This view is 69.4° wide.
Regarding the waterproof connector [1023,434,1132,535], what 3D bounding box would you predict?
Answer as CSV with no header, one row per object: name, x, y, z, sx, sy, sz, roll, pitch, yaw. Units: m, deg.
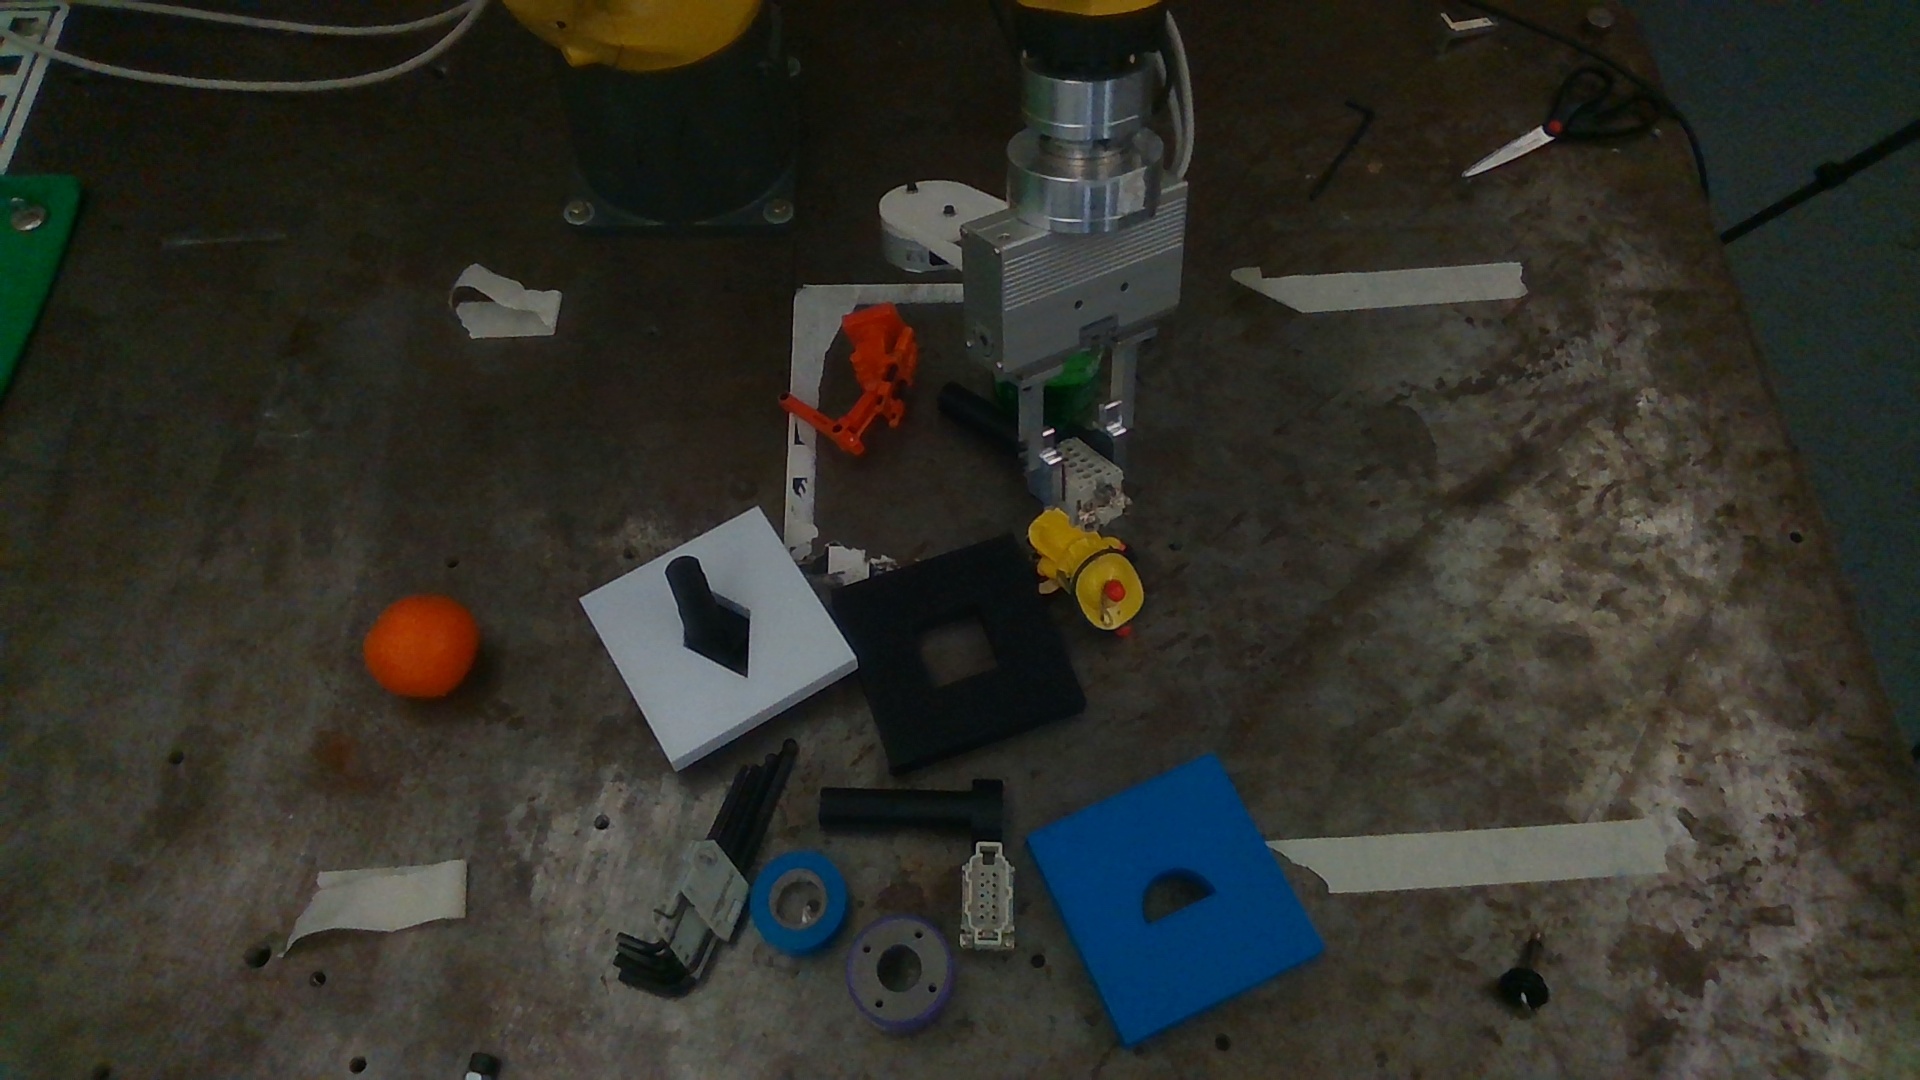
waterproof connector,0.070,-0.033,0.827,0.036,0.038,0.069,-26,44,-21
